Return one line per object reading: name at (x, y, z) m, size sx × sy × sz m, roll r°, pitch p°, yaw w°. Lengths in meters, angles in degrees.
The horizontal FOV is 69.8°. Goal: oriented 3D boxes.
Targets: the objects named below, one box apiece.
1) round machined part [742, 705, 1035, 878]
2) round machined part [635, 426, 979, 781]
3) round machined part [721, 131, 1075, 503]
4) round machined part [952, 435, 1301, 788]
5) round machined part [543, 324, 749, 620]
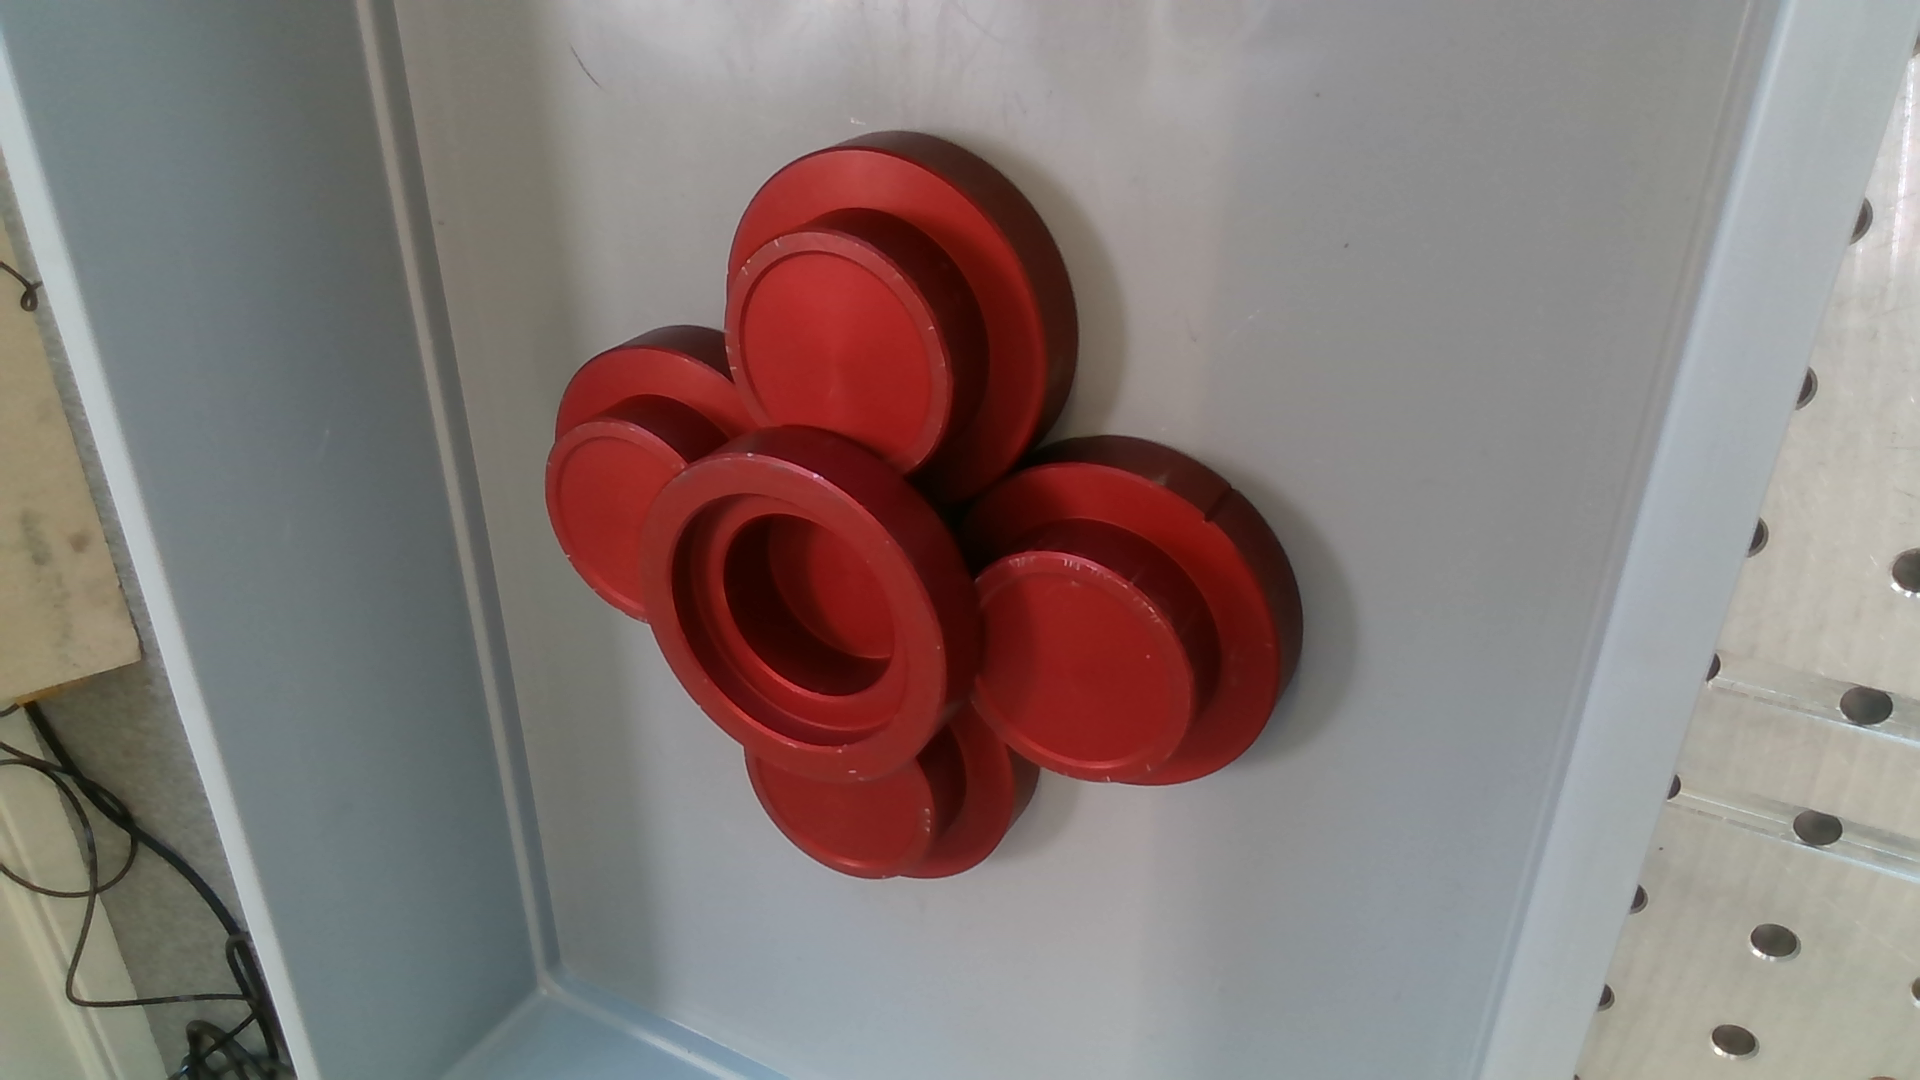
round machined part at (-0.028, 0.065, 0.429) m, size 0.098 × 0.042 × 0.098 m, roll 15°, pitch 122°, yaw 25°
round machined part at (-0.038, 0.014, 0.380) m, size 0.098 × 0.042 × 0.098 m, roll 15°, pitch 122°, yaw 25°
round machined part at (-0.023, -0.053, 0.360) m, size 0.098 × 0.042 × 0.098 m, roll 15°, pitch 122°, yaw 25°
round machined part at (0.036, 0.025, 0.366) m, size 0.098 × 0.042 × 0.098 m, roll 15°, pitch 122°, yaw 25°
round machined part at (-0.087, -0.013, 0.423) m, size 0.098 × 0.042 × 0.098 m, roll 14°, pitch 123°, yaw 23°
